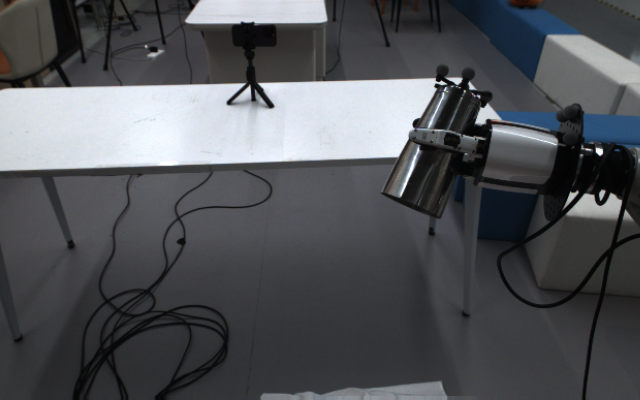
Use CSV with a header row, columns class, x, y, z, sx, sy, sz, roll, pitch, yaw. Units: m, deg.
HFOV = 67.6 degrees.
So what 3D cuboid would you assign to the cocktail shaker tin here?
class,x,y,z,sx,sy,sz,roll,pitch,yaw
cocktail shaker tin,0.164,-0.073,0.681,0.093,0.170,0.093,23,0,0
